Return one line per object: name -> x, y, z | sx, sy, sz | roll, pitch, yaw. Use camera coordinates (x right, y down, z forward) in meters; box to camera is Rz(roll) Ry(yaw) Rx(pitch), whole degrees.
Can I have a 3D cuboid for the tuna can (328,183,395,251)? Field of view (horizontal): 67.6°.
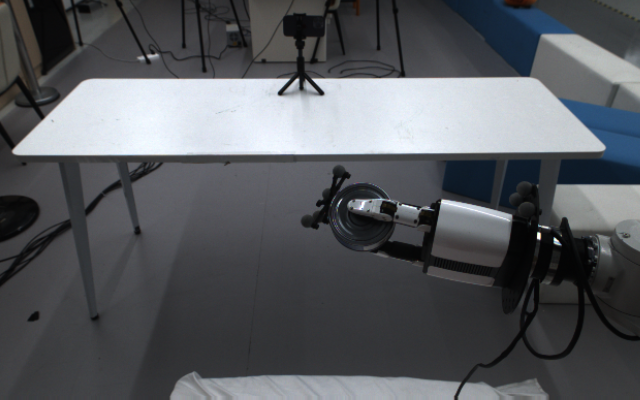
tuna can -> 0.057, 0.020, 0.623 | 0.085, 0.034, 0.085 | -2, 71, 5
